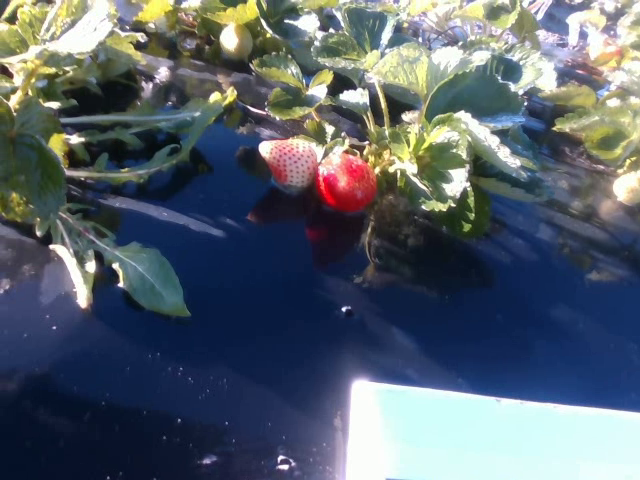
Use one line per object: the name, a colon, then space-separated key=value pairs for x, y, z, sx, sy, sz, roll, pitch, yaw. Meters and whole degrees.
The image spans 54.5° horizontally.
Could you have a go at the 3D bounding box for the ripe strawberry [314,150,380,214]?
ripe strawberry: x=0.017 y=-0.035 z=0.349 sx=0.040 sy=0.037 sz=0.056 roll=-13 pitch=-7 yaw=6
